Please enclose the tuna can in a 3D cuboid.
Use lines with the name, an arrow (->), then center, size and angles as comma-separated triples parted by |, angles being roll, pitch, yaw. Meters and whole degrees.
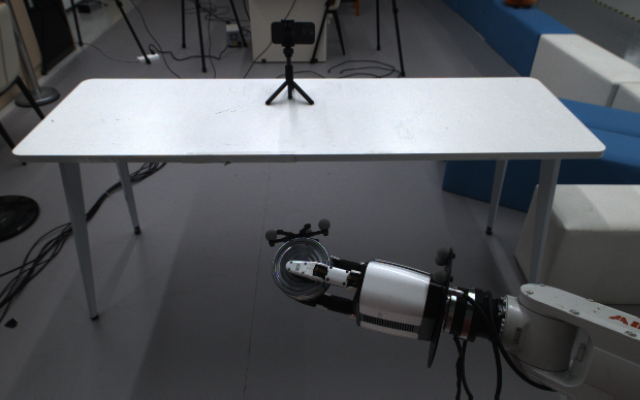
tuna can -> -0.020, 0.103, 0.678 | 0.085, 0.034, 0.085 | -4, 67, 9
